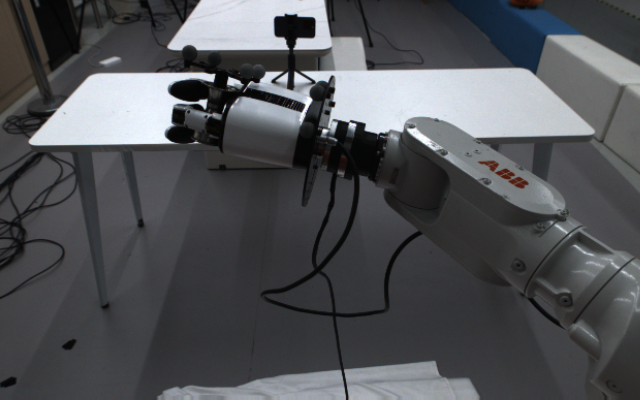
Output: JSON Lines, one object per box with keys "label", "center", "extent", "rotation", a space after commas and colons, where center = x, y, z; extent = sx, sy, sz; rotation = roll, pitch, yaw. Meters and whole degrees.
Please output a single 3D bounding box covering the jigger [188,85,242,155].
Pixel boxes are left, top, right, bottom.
{"label": "jigger", "center": [-0.124, -0.103, 0.585], "extent": [0.043, 0.071, 0.043], "rotation": [15, 17, -5]}
